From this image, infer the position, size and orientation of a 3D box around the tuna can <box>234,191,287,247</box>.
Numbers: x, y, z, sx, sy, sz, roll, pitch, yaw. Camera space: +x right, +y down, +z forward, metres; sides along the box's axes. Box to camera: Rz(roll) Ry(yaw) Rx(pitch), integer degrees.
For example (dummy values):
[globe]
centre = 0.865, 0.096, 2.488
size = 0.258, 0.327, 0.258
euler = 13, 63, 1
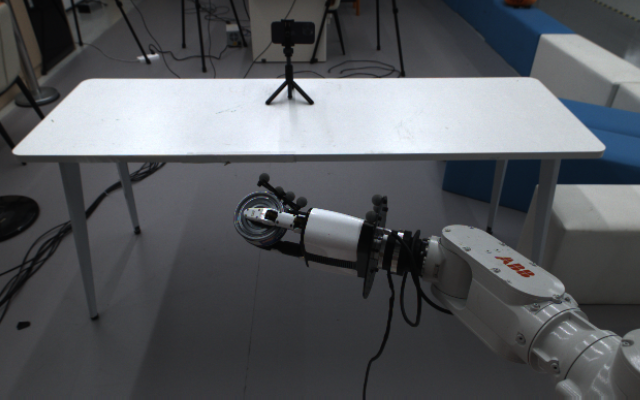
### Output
[tuna can]
centre = -0.092, 0.036, 0.776
size = 0.085, 0.034, 0.085
euler = -4, 69, 10
